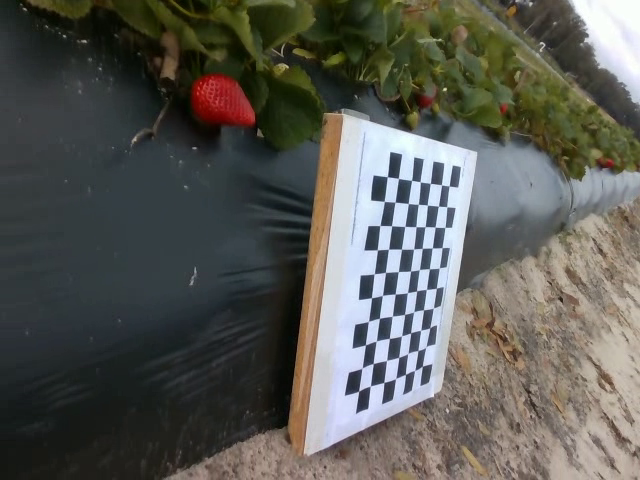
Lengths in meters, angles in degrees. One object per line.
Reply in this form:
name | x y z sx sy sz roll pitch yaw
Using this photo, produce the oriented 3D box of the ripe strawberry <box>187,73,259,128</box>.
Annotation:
ripe strawberry | -0.054 -0.081 0.352 0.046 0.037 0.037 38 -27 5
